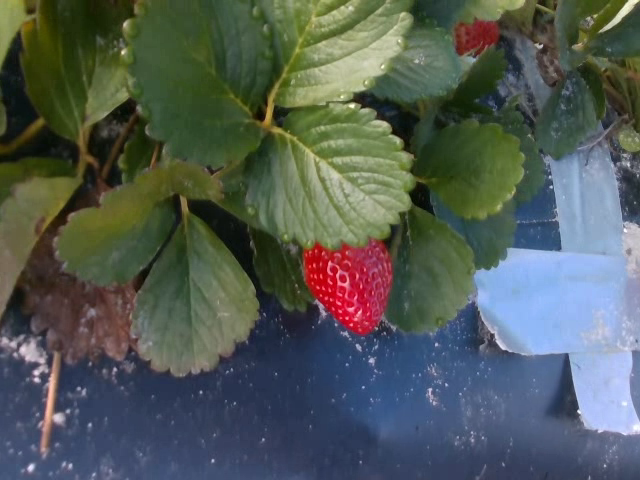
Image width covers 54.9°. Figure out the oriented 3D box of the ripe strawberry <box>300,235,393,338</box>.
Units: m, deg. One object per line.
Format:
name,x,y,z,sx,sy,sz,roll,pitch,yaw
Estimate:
ripe strawberry,0.005,0.007,0.107,0.018,0.023,0.021,-5,-28,-9
